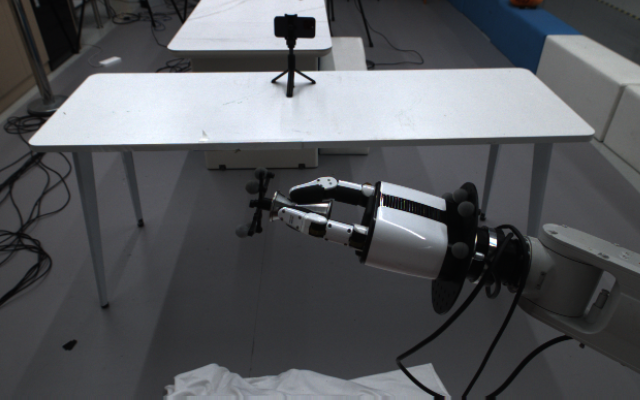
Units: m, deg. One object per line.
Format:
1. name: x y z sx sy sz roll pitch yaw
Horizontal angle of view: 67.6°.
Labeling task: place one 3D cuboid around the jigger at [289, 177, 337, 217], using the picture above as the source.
1. jigger: -0.016 0.012 0.581 0.071 0.043 0.043 12 36 5
